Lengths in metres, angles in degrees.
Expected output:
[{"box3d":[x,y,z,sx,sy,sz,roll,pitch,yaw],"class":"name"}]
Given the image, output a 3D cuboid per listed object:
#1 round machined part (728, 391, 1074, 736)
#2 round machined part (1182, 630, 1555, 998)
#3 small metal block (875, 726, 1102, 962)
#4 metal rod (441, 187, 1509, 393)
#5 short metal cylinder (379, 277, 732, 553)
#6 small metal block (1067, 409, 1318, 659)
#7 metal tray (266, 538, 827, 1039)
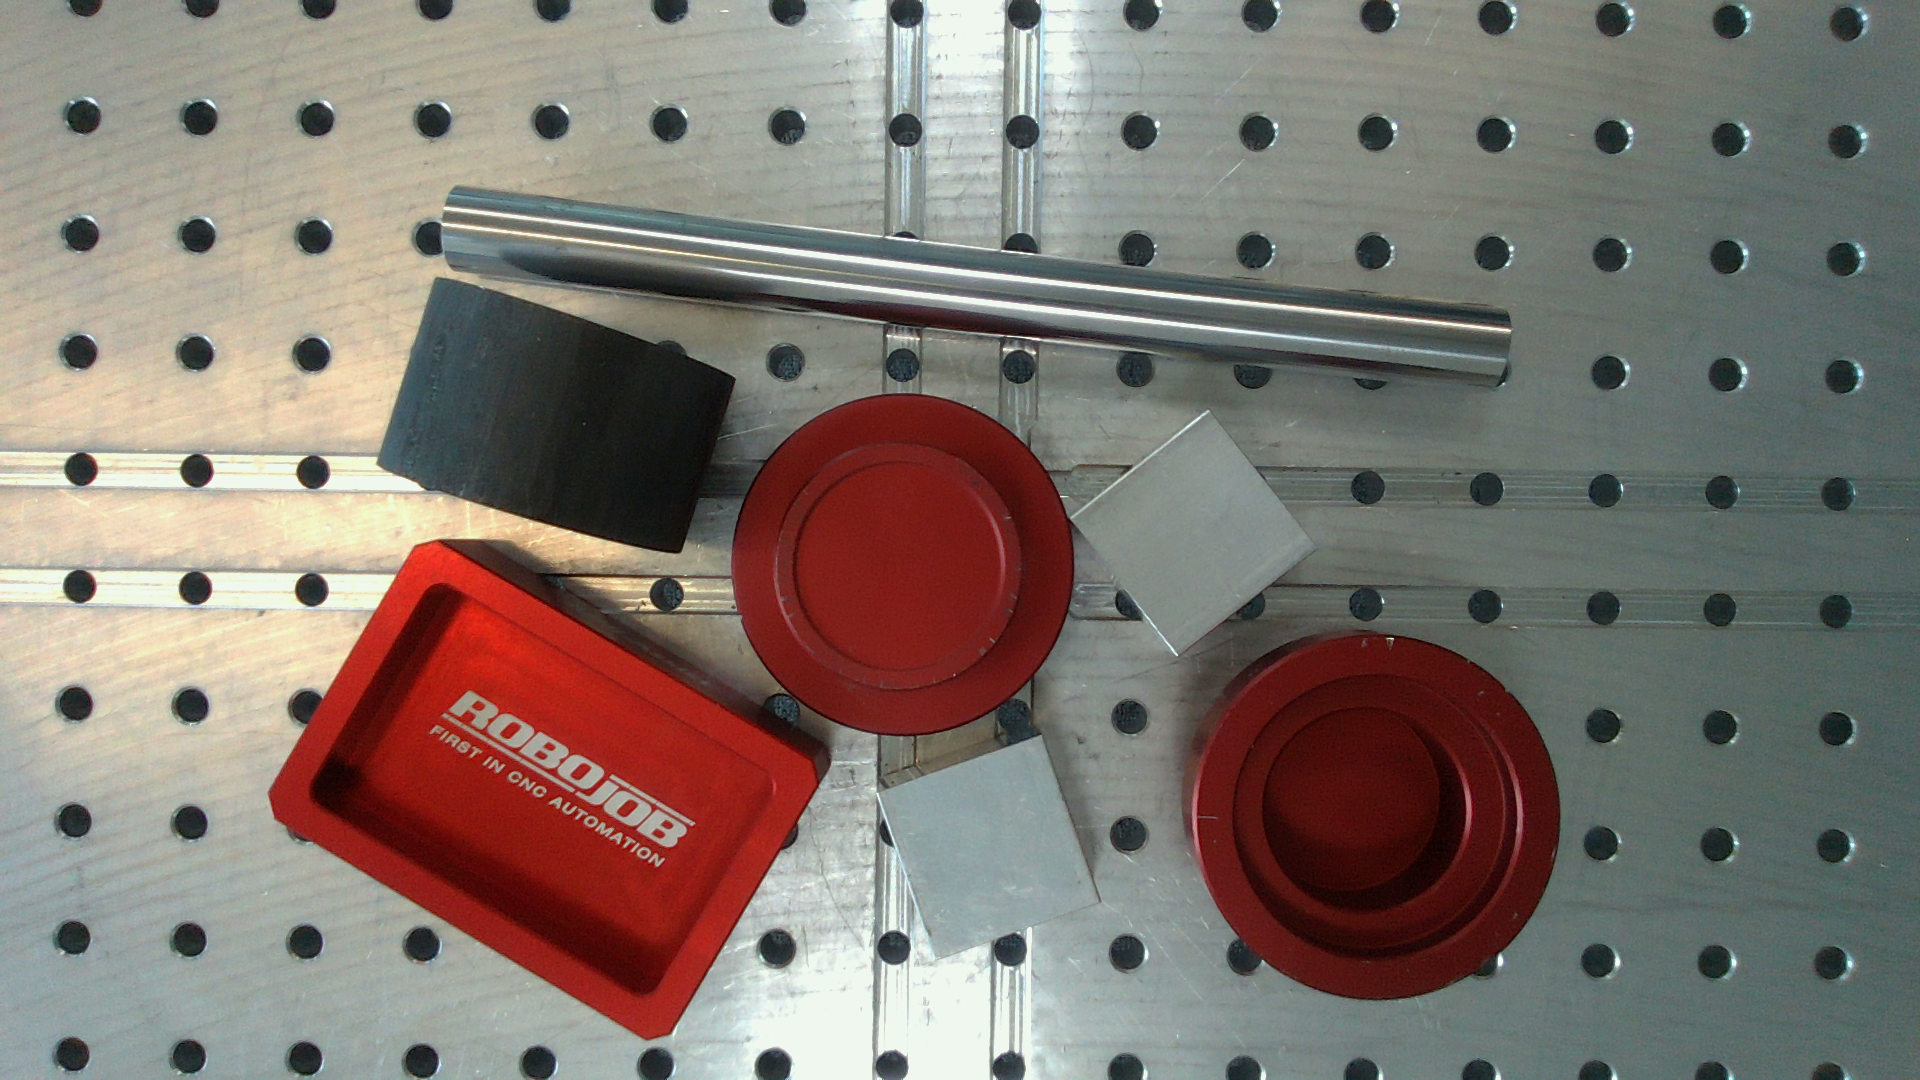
[{"box3d":[-0.017,0.006,0.389,0.098,0.042,0.098,0,87,0],"class":"round machined part"},{"box3d":[0.111,0.074,0.390,0.098,0.042,0.098,0,90,0],"class":"round machined part"},{"box3d":[0.008,0.086,0.398,0.050,0.025,0.050,-19,90,0],"class":"small metal block"},{"box3d":[0.004,-0.072,0.397,0.300,0.025,0.025,7,90,0],"class":"metal rod"},{"box3d":[-0.107,-0.032,0.369,0.080,0.080,0.050,18,90,0],"class":"short metal cylinder"},{"box3d":[0.065,-0.002,0.398,0.050,0.025,0.050,-38,90,0],"class":"small metal block"},{"box3d":[-0.116,0.069,0.394,0.130,0.030,0.090,31,90,0],"class":"metal tray"}]
